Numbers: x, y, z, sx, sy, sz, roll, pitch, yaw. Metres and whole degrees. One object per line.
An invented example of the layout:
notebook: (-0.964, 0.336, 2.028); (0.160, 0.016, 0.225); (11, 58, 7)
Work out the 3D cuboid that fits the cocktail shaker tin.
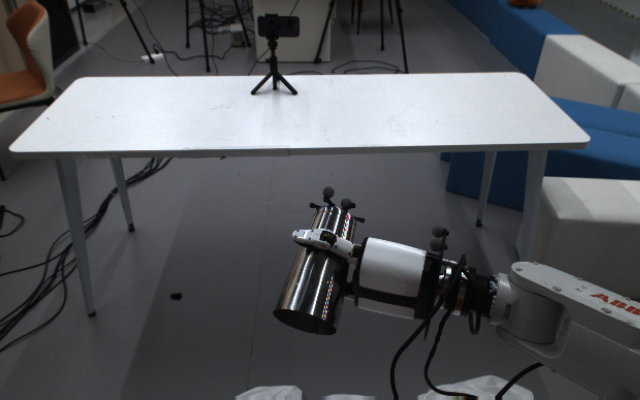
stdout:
cocktail shaker tin: (0.004, 0.097, 0.697); (0.093, 0.093, 0.170); (10, 59, 11)
